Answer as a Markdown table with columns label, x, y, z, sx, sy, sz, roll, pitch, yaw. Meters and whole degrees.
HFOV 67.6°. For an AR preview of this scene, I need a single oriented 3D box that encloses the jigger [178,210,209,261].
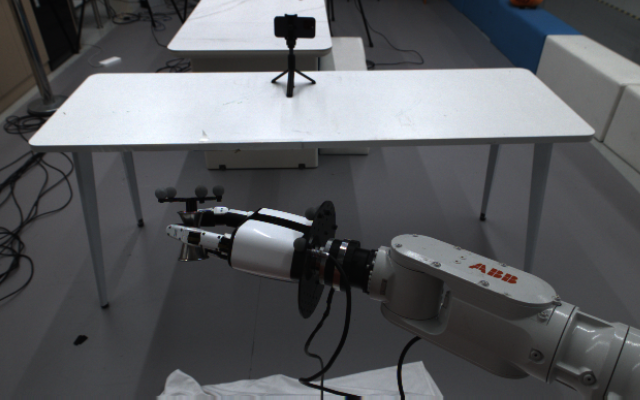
| label | x | y | z | sx | sy | sz | roll | pitch | yaw |
| --- | --- | --- | --- | --- | --- | --- | --- | --- | --- |
| jigger | -0.180 | 0.049 | 0.685 | 0.043 | 0.071 | 0.043 | -2 | 4 | 0 |
